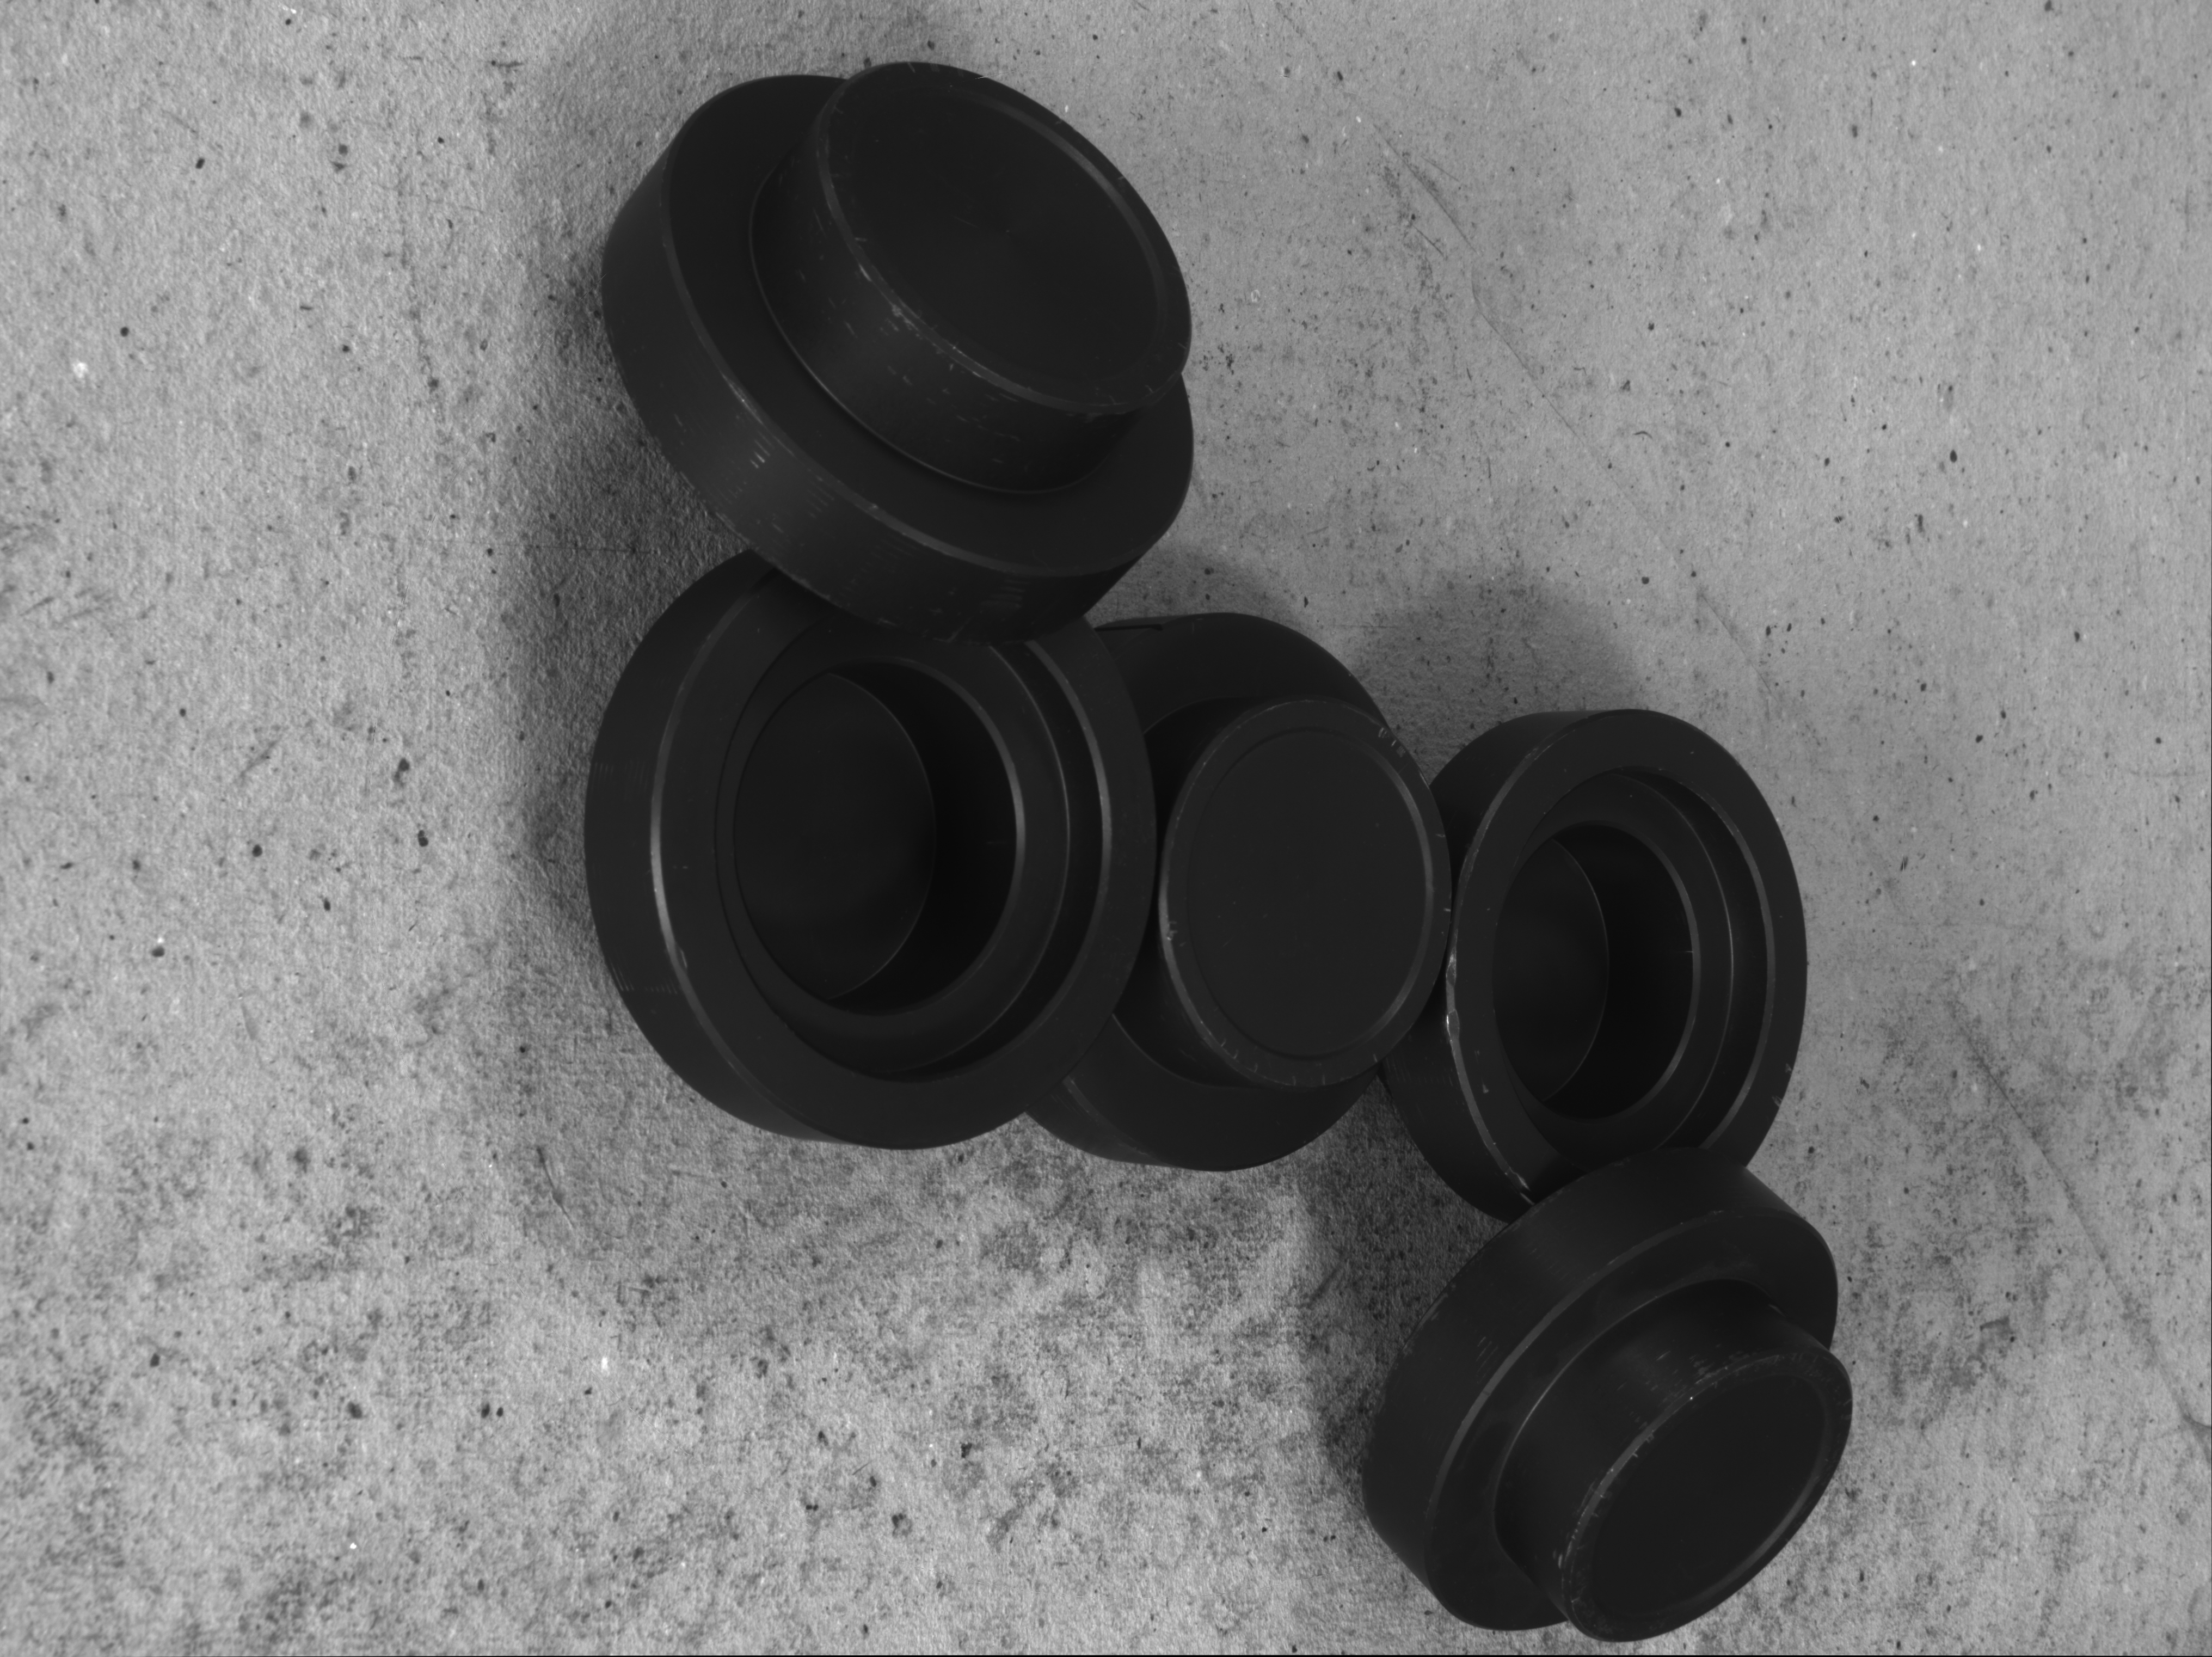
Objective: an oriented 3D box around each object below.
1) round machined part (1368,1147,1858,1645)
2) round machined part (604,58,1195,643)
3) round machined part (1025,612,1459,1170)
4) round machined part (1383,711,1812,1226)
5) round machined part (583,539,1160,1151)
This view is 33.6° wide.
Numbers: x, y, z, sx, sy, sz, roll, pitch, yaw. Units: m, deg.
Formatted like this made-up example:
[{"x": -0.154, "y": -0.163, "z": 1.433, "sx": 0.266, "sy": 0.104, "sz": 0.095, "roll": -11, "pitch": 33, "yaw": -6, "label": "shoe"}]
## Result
[{"x": 0.100, "y": 0.111, "z": 0.678, "sx": 0.098, "sy": 0.042, "sz": 0.098, "roll": -21, "pitch": 131, "yaw": -27, "label": "round machined part"}, {"x": -0.026, "y": -0.081, "z": 0.575, "sx": 0.098, "sy": 0.042, "sz": 0.098, "roll": 23, "pitch": 46, "yaw": -26, "label": "round machined part"}, {"x": 0.023, "y": 0.011, "z": 0.642, "sx": 0.098, "sy": 0.042, "sz": 0.098, "roll": 2, "pitch": 86, "yaw": -38, "label": "round machined part"}, {"x": 0.086, "y": 0.027, "z": 0.695, "sx": 0.098, "sy": 0.042, "sz": 0.098, "roll": 0, "pitch": 90, "yaw": -39, "label": "round machined part"}, {"x": -0.042, "y": 0.001, "z": 0.589, "sx": 0.098, "sy": 0.042, "sz": 0.098, "roll": 0, "pitch": 90, "yaw": -39, "label": "round machined part"}]
